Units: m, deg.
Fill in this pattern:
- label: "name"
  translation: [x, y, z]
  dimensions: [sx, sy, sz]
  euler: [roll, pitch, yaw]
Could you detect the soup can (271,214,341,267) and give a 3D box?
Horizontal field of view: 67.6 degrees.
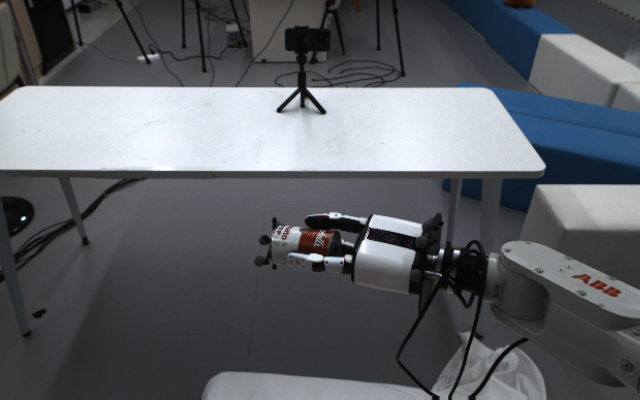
- label: "soup can"
  translation: [-0.021, 0.079, 0.782]
  dimensions: [0.101, 0.067, 0.067]
  euler: [5, 34, 18]
